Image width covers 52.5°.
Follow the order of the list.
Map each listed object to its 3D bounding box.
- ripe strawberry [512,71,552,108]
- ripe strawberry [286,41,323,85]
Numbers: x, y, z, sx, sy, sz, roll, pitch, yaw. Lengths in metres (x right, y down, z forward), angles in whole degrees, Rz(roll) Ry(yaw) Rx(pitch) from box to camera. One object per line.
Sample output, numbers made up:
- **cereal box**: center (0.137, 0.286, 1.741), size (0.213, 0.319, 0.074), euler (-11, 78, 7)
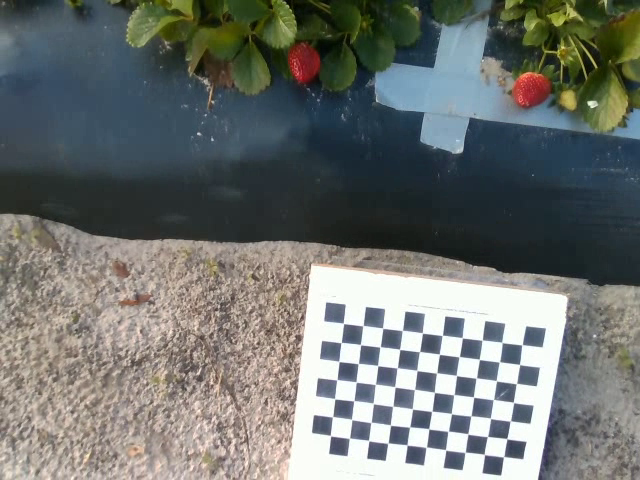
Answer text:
- **ripe strawberry**: center (0.110, -0.076, 0.336), size (0.023, 0.026, 0.021), euler (18, -33, 23)
- **ripe strawberry**: center (-0.008, -0.089, 0.332), size (0.018, 0.023, 0.021), euler (-1, -22, 18)
